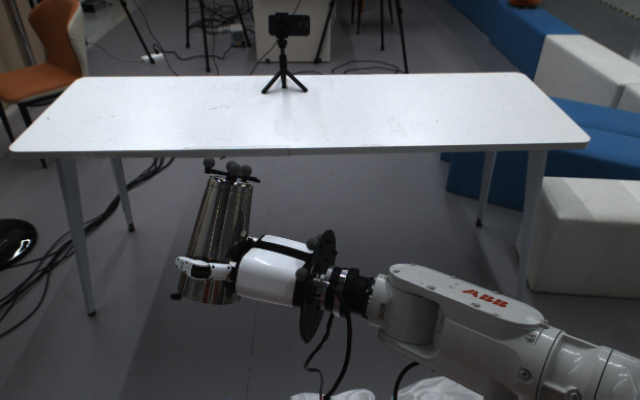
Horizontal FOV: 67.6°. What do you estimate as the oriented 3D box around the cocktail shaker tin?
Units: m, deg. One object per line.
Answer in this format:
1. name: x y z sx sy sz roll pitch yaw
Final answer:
1. cocktail shaker tin: -0.146 0.056 0.703 0.093 0.170 0.093 12 5 -1
